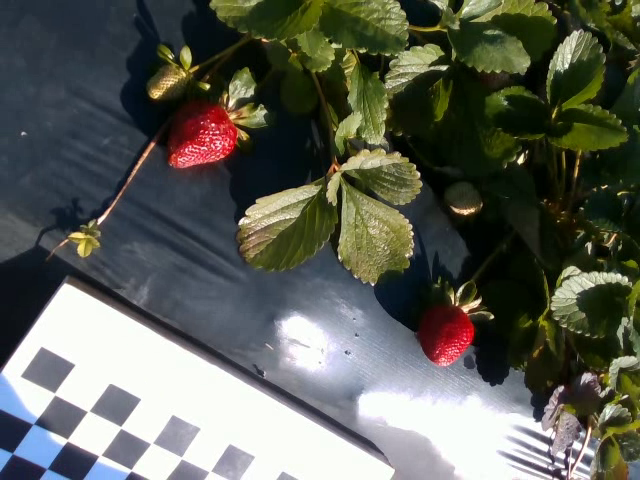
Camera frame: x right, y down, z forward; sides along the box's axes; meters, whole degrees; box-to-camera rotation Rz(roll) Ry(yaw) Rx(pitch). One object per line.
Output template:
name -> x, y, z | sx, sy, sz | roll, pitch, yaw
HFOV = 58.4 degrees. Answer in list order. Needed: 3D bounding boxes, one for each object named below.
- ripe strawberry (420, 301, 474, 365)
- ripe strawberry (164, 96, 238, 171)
ripe strawberry -> 0.082, 0.069, 0.384 | 0.043, 0.043, 0.050 | -3, 25, 30
ripe strawberry -> -0.070, -0.057, 0.320 | 0.043, 0.053, 0.042 | -19, -57, 41
